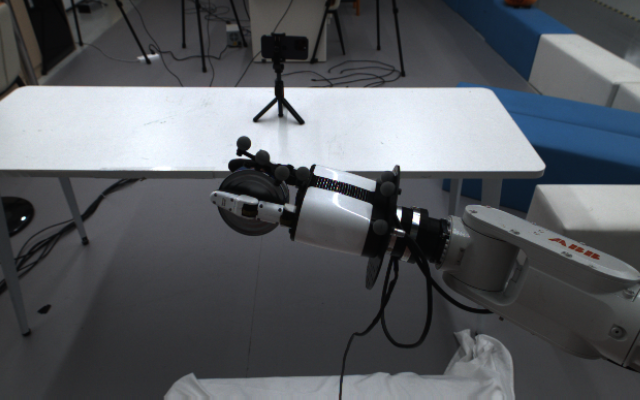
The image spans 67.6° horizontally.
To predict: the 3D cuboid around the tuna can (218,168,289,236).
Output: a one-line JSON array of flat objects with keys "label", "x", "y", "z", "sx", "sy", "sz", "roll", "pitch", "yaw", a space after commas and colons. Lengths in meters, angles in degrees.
[{"label": "tuna can", "x": -0.080, "y": -0.001, "z": 0.601, "sx": 0.085, "sy": 0.085, "sz": 0.034, "roll": 7, "pitch": 16, "yaw": 7}]
